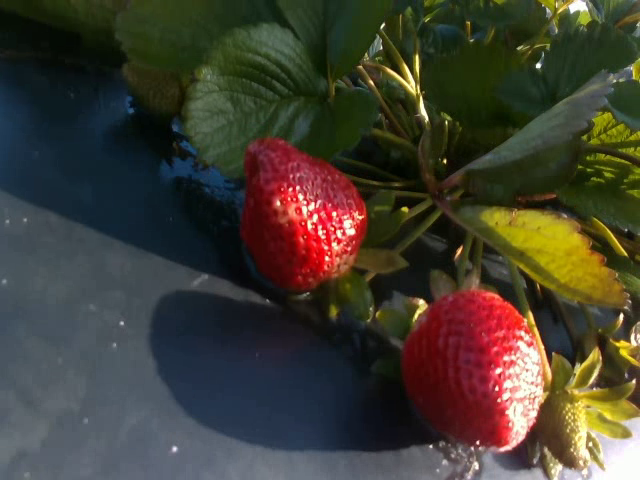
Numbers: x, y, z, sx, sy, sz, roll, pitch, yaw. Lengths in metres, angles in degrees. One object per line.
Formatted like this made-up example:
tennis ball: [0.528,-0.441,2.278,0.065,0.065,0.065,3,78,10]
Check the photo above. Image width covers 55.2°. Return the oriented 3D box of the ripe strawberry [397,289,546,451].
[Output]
ripe strawberry: [0.042,0.032,0.152,0.038,0.043,0.053,-41,7,8]

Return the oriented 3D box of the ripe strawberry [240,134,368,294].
ripe strawberry: [-0.006,-0.008,0.184,0.039,0.048,0.054,-13,-39,31]
